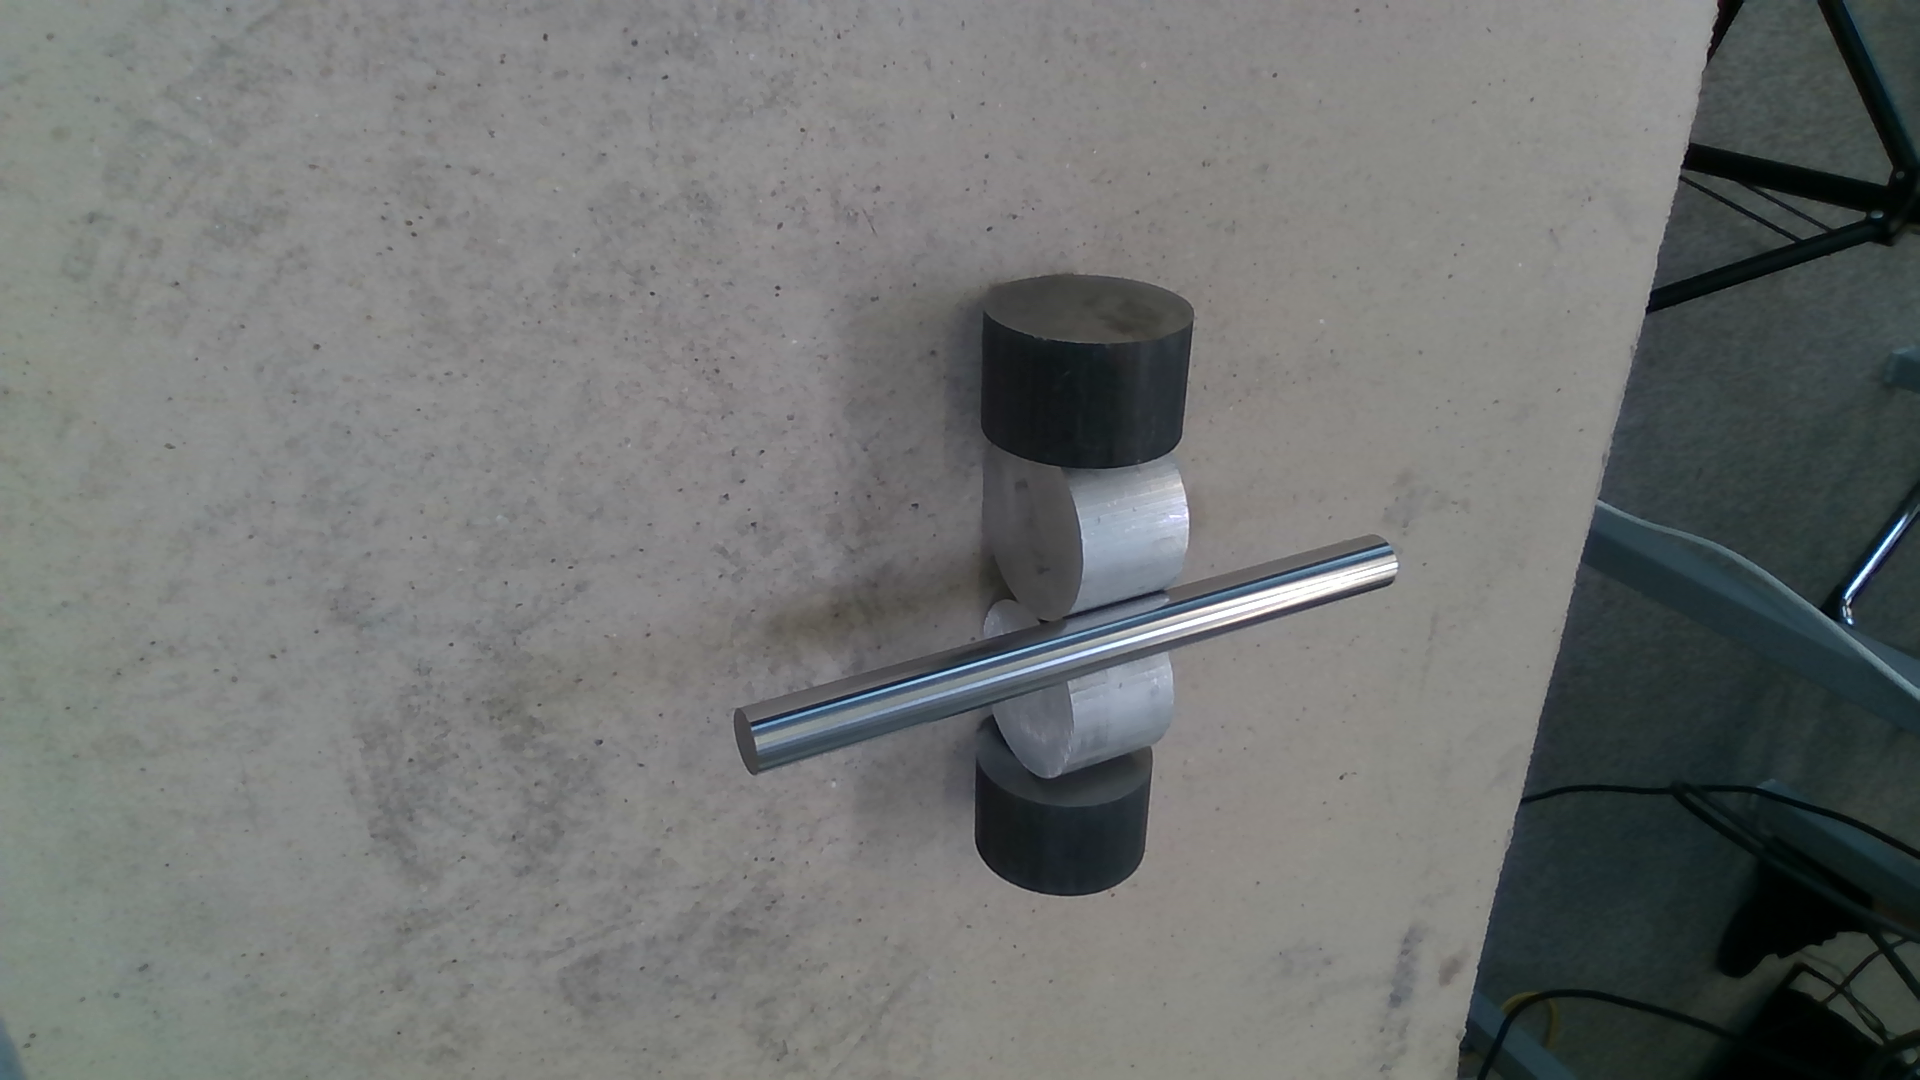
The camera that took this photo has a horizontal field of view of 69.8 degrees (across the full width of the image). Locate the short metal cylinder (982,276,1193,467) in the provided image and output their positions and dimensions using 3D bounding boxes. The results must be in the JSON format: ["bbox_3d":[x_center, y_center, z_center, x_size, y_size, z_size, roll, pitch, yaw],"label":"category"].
[{"bbox_3d":[0.049,-0.068,0.539,0.080,0.080,0.050,-14,121,-25],"label":"short metal cylinder"}]

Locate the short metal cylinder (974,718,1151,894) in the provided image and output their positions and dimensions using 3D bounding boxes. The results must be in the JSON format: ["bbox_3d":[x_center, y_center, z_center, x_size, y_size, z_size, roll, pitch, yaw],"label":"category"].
[{"bbox_3d":[0.047,0.117,0.638,0.080,0.080,0.050,-14,121,-25],"label":"short metal cylinder"}]

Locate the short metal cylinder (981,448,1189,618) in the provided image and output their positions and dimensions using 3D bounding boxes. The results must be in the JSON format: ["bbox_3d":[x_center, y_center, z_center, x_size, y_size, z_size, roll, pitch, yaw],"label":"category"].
[{"bbox_3d":[0.050,-0.012,0.571,0.050,0.080,0.080,-14,121,-25],"label":"short metal cylinder"}]

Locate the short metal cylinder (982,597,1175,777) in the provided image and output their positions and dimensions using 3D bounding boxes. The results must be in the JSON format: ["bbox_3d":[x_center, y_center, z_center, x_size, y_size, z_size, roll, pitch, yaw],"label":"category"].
[{"bbox_3d":[0.050,0.059,0.608,0.050,0.080,0.080,-14,121,-25],"label":"short metal cylinder"}]

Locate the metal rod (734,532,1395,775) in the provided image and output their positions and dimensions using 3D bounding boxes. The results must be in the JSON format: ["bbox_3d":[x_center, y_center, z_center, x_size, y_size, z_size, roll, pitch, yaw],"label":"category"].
[{"bbox_3d":[0.055,0.041,0.558,0.300,0.025,0.025,-14,121,-25],"label":"metal rod"}]
